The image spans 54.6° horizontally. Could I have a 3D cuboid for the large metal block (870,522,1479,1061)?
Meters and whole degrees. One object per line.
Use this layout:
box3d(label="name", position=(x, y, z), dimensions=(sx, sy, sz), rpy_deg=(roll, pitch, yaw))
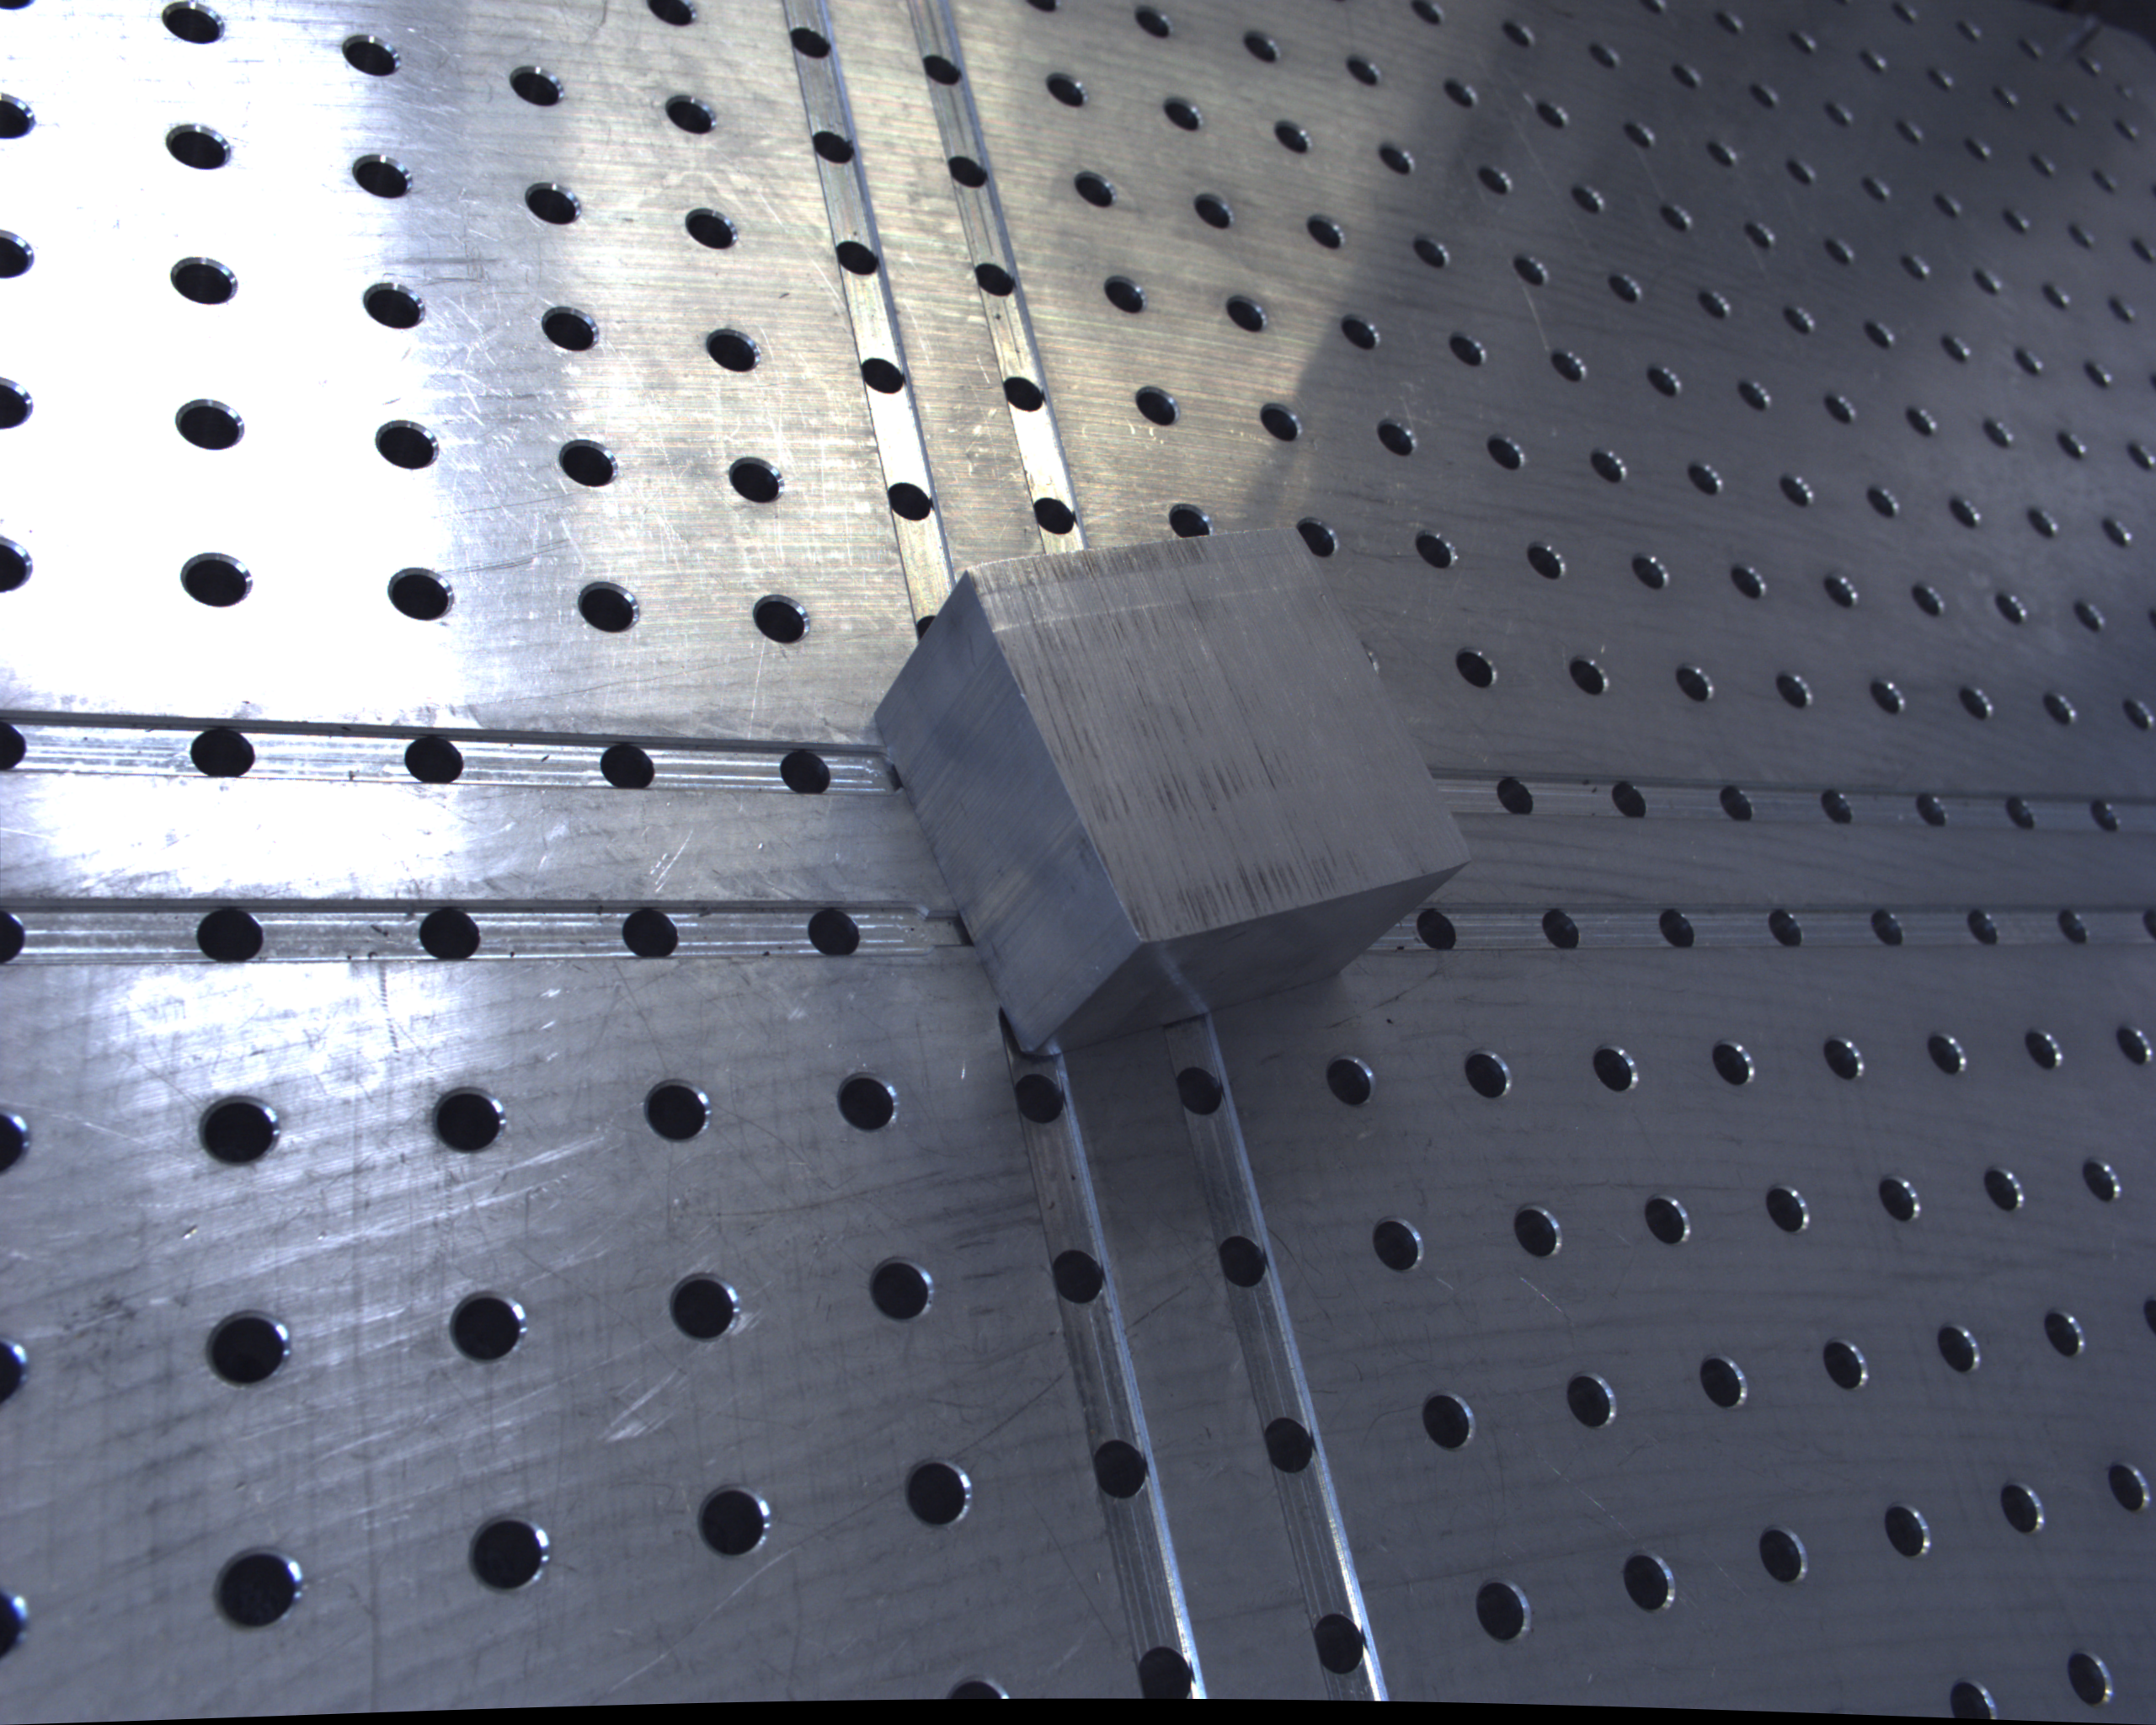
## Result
box3d(label="large metal block", position=(0.018, -0.016, 0.409), dimensions=(0.081, 0.050, 0.080), rpy_deg=(-13, 69, -33))
